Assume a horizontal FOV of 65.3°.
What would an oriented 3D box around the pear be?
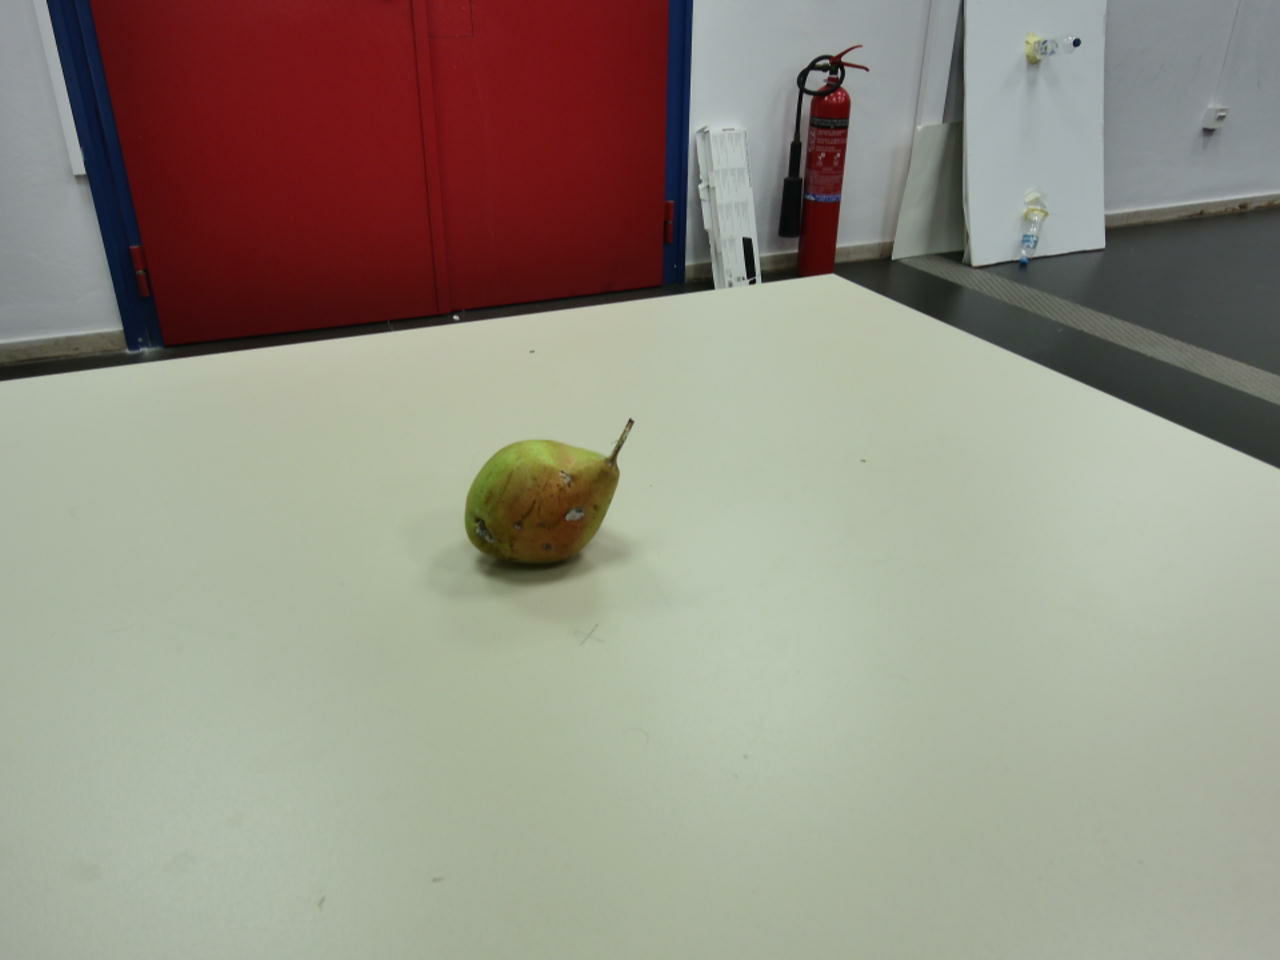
[{"bbox_3d":[-0.049,0.008,0.495,0.070,0.069,0.068,11,28,23],"label":"pear"}]
